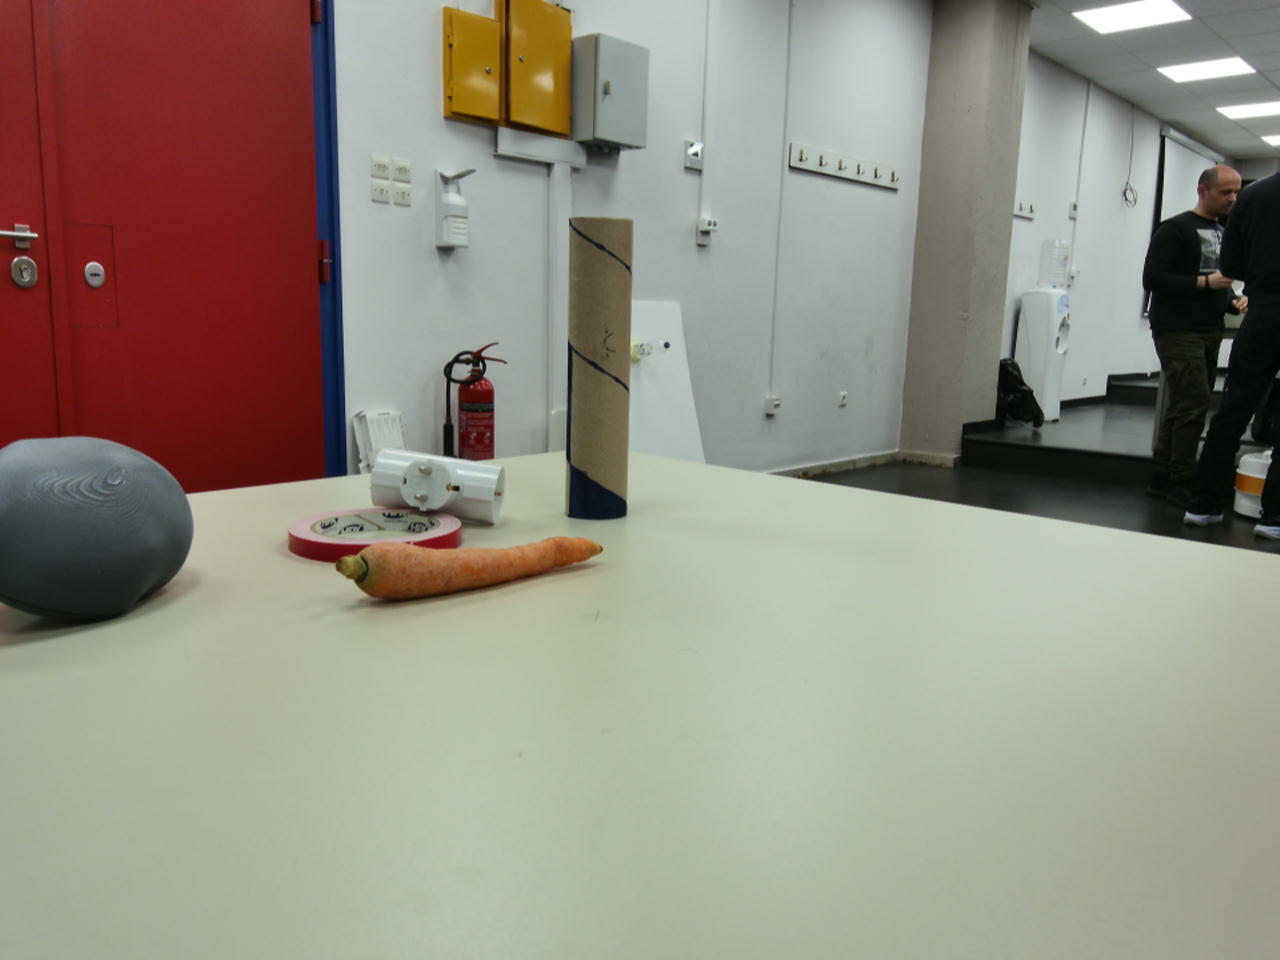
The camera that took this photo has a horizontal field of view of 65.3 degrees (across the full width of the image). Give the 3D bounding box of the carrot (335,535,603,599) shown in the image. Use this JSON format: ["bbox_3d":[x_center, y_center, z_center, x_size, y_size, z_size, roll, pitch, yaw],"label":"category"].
[{"bbox_3d":[-0.089,0.044,0.568,0.173,0.032,0.030,-6,10,-38],"label":"carrot"}]
